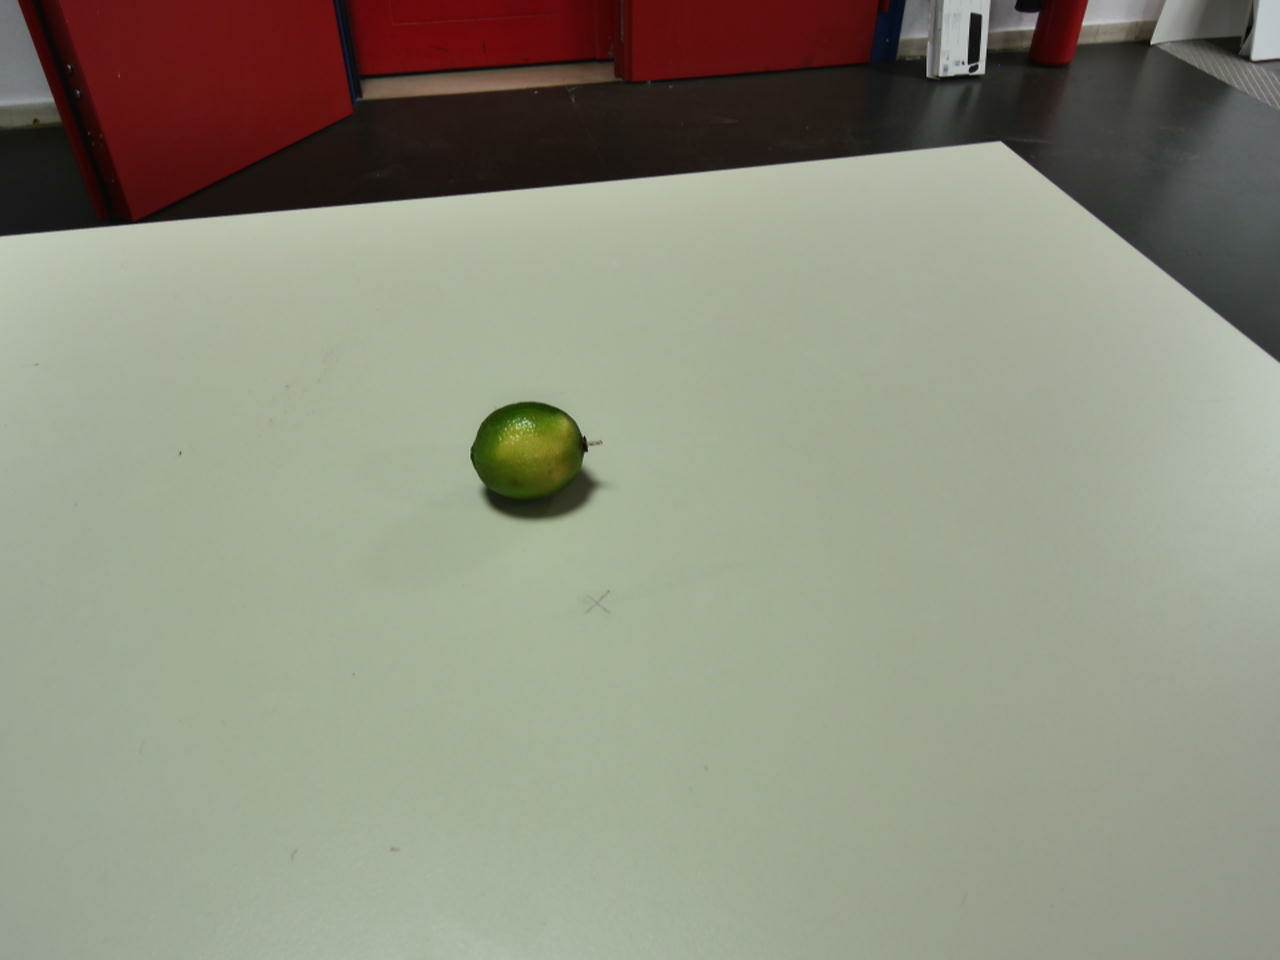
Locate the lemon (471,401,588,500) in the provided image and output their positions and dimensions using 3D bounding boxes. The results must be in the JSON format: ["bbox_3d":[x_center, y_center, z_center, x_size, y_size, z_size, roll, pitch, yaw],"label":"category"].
[{"bbox_3d":[-0.058,-0.015,0.522,0.055,0.050,0.054,27,45,28],"label":"lemon"}]
